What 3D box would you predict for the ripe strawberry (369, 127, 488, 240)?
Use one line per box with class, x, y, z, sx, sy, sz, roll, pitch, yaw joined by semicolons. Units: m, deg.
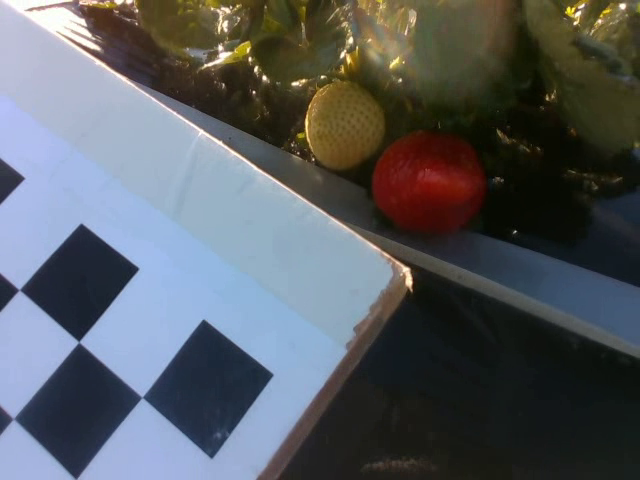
ripe strawberry;0.041;-0.021;0.217;0.045;0.049;0.064;-30;6;0
